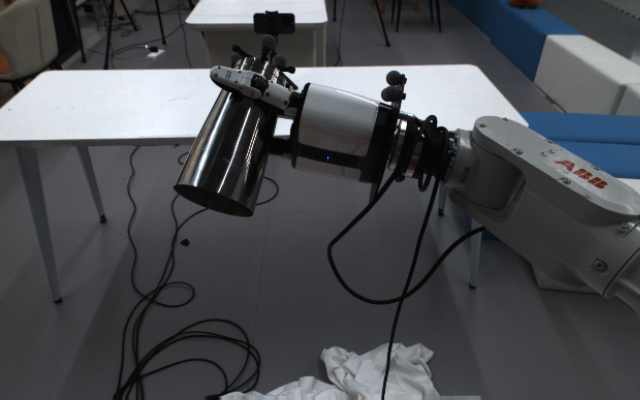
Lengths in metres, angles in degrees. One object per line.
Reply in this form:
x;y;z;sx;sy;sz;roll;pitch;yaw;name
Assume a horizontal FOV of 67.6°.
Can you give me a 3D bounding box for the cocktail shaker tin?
-0.094;-0.078;0.564;0.093;0.093;0.170;12;72;14;cocktail shaker tin
